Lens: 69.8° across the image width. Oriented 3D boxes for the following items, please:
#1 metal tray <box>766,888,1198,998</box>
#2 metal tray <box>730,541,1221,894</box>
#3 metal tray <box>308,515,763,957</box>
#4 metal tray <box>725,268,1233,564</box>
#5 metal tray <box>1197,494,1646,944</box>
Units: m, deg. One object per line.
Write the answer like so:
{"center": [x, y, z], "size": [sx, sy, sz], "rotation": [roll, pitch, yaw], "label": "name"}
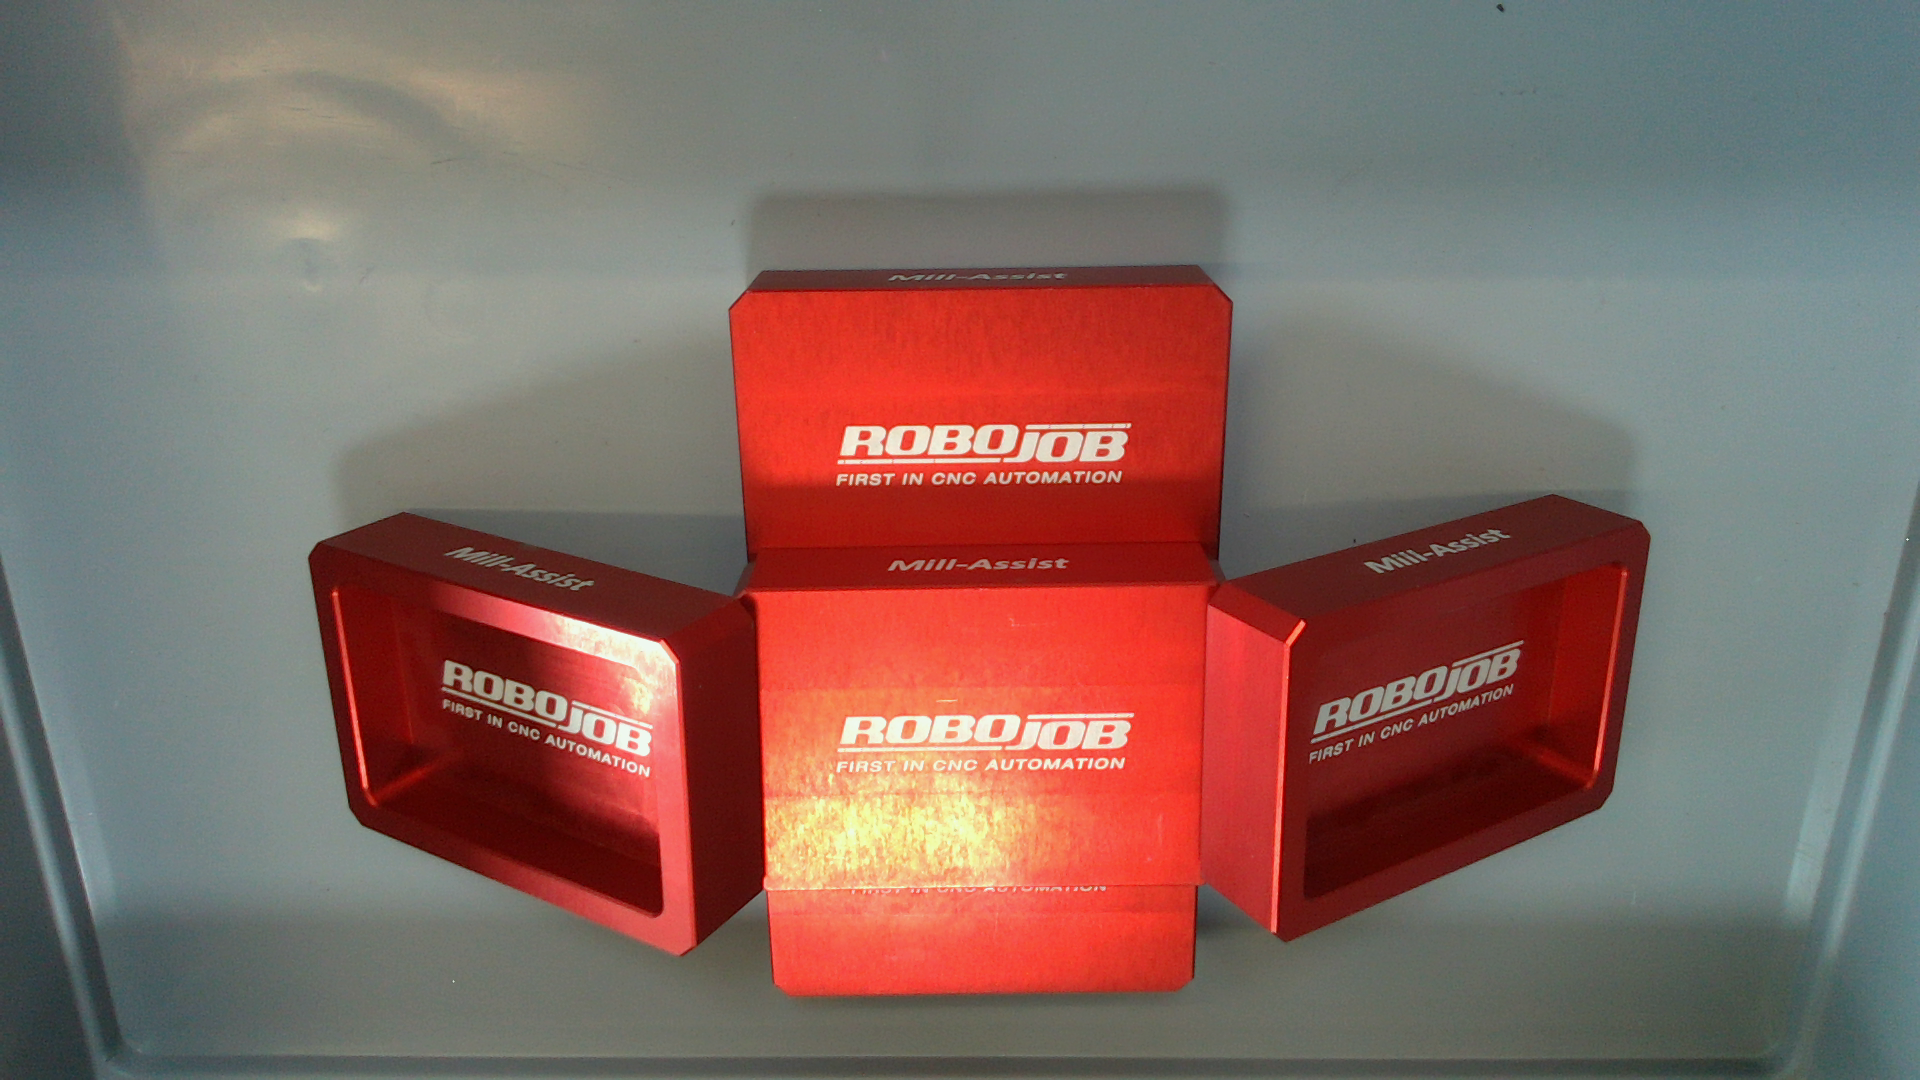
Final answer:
{"center": [0.006, 0.094, 0.423], "size": [0.130, 0.030, 0.090], "rotation": [-1, 110, 0], "label": "metal tray"}
{"center": [0.006, 0.049, 0.376], "size": [0.130, 0.030, 0.090], "rotation": [-1, 110, 0], "label": "metal tray"}
{"center": [-0.116, 0.050, 0.375], "size": [0.130, 0.030, 0.090], "rotation": [12, 114, 27], "label": "metal tray"}
{"center": [0.005, -0.028, 0.379], "size": [0.130, 0.030, 0.090], "rotation": [-1, 110, 0], "label": "metal tray"}
{"center": [0.126, 0.045, 0.374], "size": [0.130, 0.030, 0.090], "rotation": [-13, 113, -27], "label": "metal tray"}
